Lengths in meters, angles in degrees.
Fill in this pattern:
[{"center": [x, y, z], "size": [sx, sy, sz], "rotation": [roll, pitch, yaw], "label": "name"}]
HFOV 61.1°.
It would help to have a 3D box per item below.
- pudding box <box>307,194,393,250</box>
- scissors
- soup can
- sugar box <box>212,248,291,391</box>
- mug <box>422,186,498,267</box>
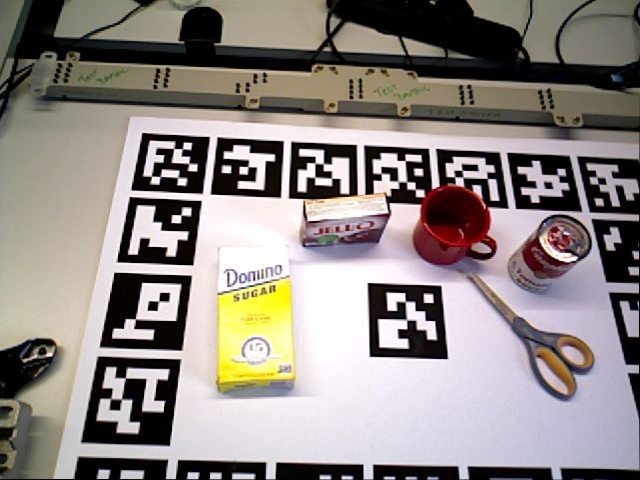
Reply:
[{"center": [0.042, -0.024, 0.708], "size": [0.113, 0.091, 0.038], "rotation": [-5, 72, -7], "label": "pudding box"}, {"center": [0.275, 0.129, 0.698], "size": [0.087, 0.016, 0.202], "rotation": [-40, 75, -8], "label": "scissors"}, {"center": [0.303, 0.029, 0.707], "size": [0.067, 0.104, 0.067], "rotation": [1, 64, -3], "label": "soup can"}, {"center": [-0.083, 0.097, 0.679], "size": [0.092, 0.046, 0.175], "rotation": [0, 68, -2], "label": "sugar box"}, {"center": [0.189, -0.012, 0.721], "size": [0.092, 0.083, 0.117], "rotation": [-32, 70, -14], "label": "mug"}]
